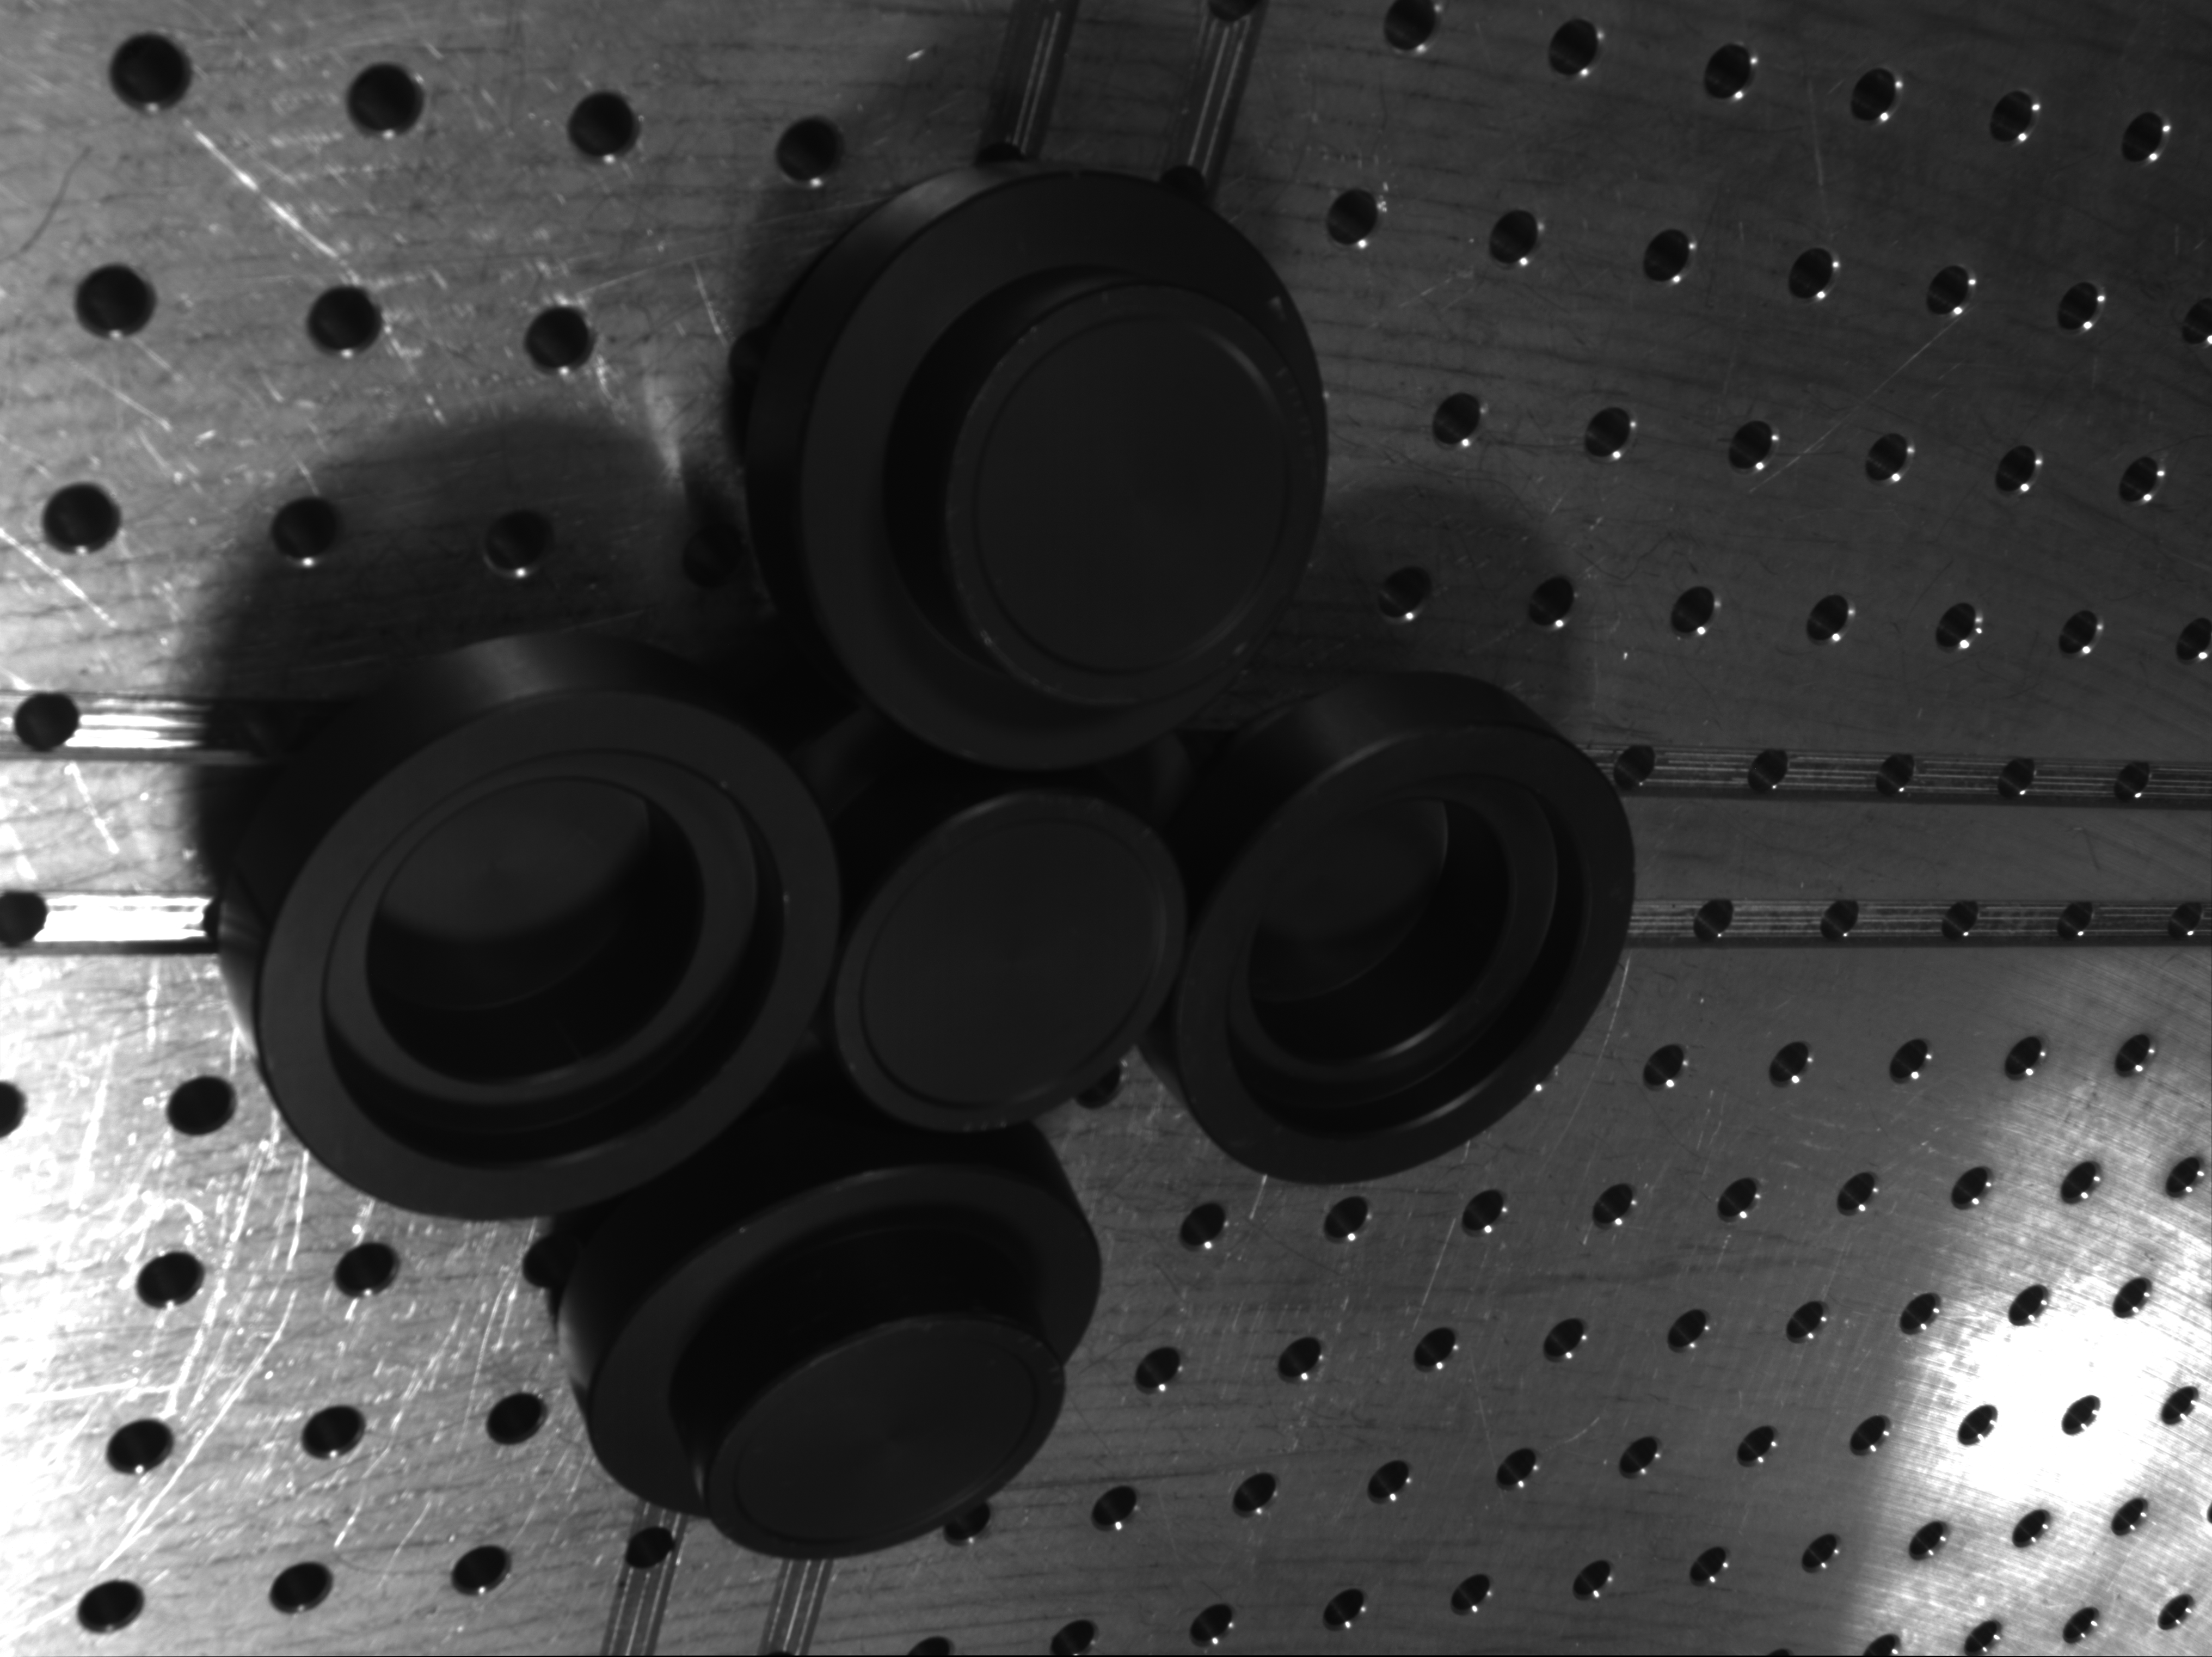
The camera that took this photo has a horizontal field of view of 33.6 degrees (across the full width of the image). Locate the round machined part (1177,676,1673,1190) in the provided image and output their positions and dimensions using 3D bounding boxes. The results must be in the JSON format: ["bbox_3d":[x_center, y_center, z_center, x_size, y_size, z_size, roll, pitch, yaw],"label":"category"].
[{"bbox_3d":[0.053,0.015,0.683,0.098,0.042,0.098,-15,125,-22],"label":"round machined part"}]

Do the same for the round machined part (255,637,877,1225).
[{"bbox_3d":[-0.090,0.013,0.597,0.098,0.042,0.098,-15,125,-22],"label":"round machined part"}]

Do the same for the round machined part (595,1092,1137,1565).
[{"bbox_3d":[-0.040,0.096,0.664,0.098,0.042,0.098,-16,139,-14],"label":"round machined part"}]

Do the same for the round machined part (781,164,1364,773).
[{"bbox_3d":[0.000,-0.056,0.593,0.098,0.042,0.098,-8,107,-27],"label":"round machined part"}]

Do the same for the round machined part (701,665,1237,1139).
[{"bbox_3d":[-0.019,0.015,0.640,0.098,0.042,0.098,-15,125,-22],"label":"round machined part"}]
